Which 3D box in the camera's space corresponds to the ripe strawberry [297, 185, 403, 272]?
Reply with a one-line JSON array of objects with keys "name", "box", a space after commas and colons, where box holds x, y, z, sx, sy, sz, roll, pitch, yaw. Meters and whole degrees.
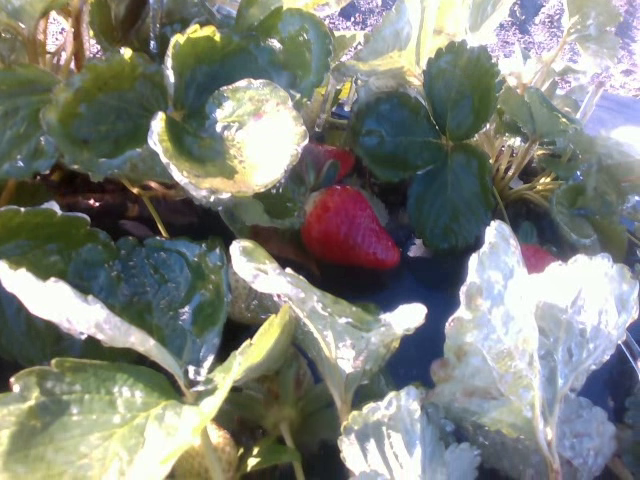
[{"name": "ripe strawberry", "box": [0.021, -0.006, 0.285, 0.044, 0.056, 0.040, -52, 3, -39]}]
